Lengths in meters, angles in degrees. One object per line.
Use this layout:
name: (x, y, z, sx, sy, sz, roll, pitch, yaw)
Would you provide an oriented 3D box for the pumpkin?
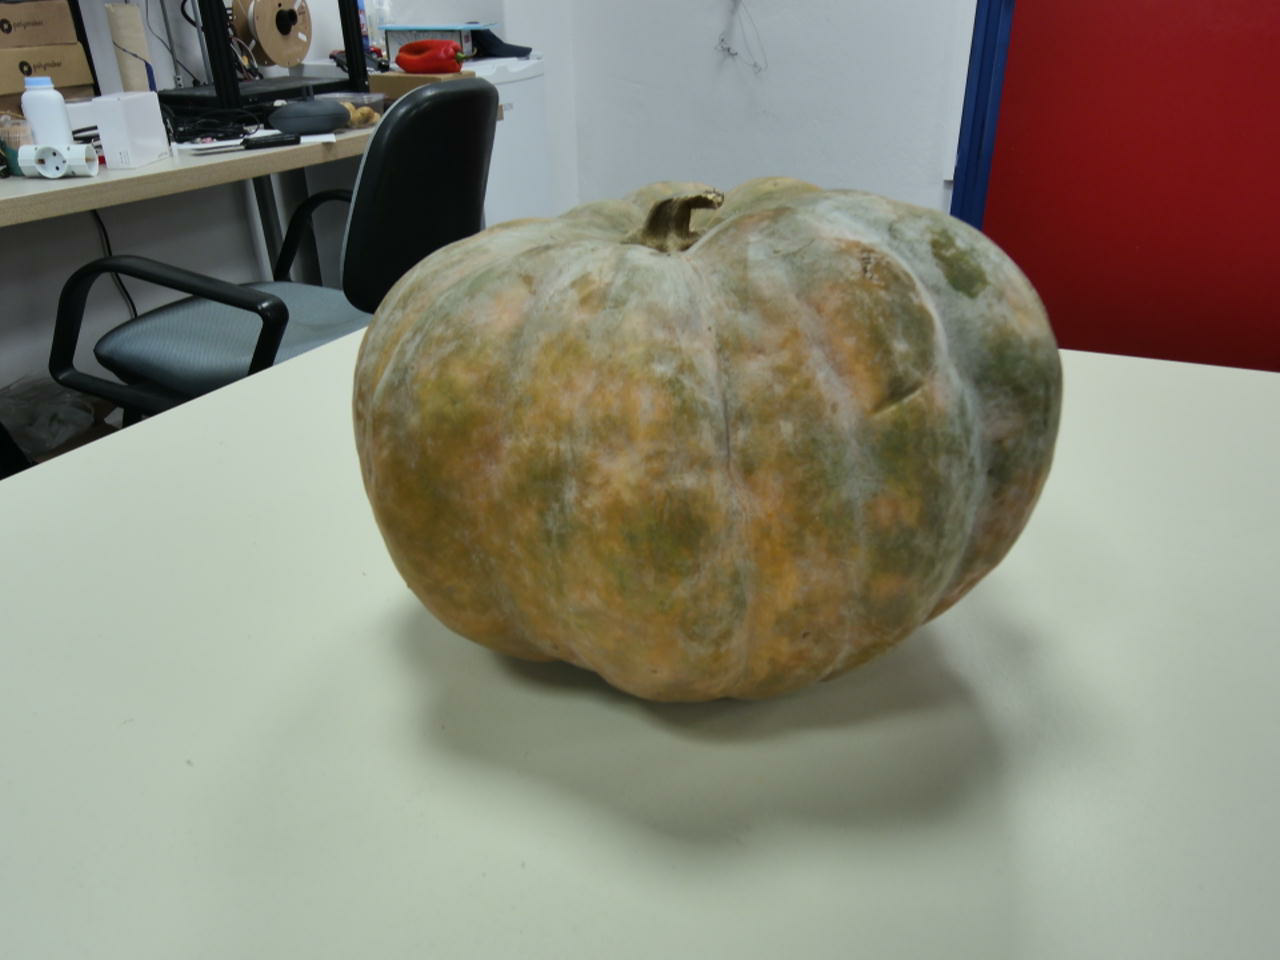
pumpkin: (0.016, -0.025, 0.375, 0.252, 0.169, 0.251, 0, 24, 0)
